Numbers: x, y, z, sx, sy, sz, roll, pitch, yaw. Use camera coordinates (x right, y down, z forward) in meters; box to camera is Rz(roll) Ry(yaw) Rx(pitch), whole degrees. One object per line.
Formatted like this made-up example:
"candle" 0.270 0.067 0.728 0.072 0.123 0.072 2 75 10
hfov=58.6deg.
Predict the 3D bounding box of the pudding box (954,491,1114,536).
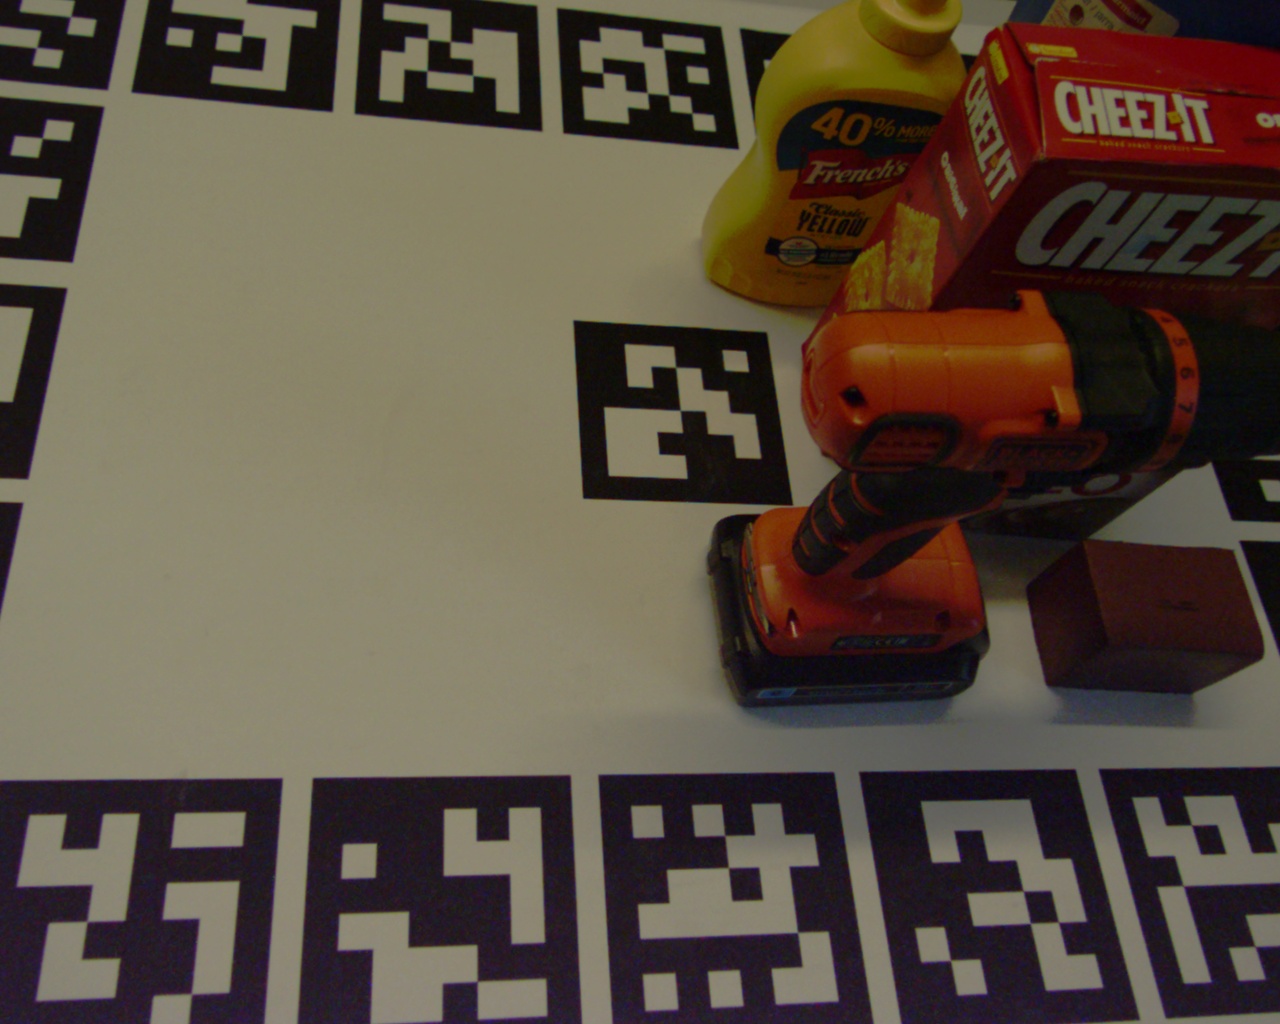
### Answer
"pudding box" 0.171 -0.024 0.544 0.113 0.090 0.039 0 62 -9

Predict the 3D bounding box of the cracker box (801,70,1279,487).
"cracker box" 0.185 -0.092 0.520 0.163 0.214 0.072 -2 63 -11

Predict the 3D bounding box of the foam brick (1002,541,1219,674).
"foam brick" 0.227 0.048 0.556 0.077 0.051 0.053 2 65 -11

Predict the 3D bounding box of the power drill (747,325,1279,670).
"power drill" 0.131 0.000 0.444 0.183 0.187 0.057 -1 61 -13

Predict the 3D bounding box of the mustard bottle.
"mustard bottle" 0.090 -0.181 0.553 0.096 0.192 0.058 12 63 -6

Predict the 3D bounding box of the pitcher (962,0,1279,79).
"pitcher" 0.222 -0.186 0.569 0.188 0.243 0.133 5 63 -8
